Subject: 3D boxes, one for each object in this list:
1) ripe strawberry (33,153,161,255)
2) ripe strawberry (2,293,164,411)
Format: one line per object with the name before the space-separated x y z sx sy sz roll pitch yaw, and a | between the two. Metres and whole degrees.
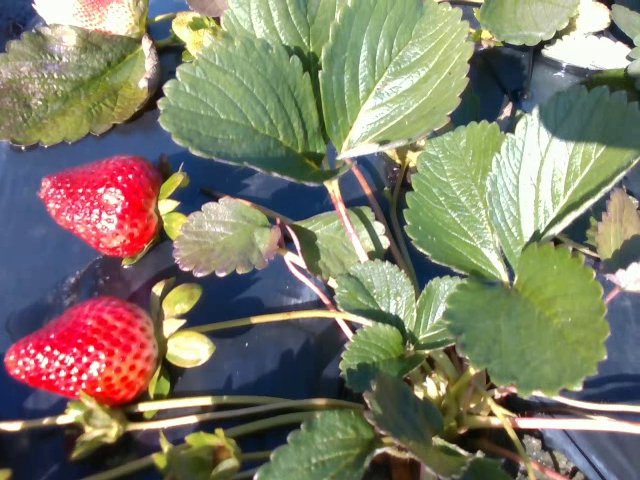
ripe strawberry | -0.087 -0.018 0.237 0.050 0.050 0.044 18 -32 -17
ripe strawberry | -0.075 0.035 0.187 0.049 0.039 0.042 2 7 -34
